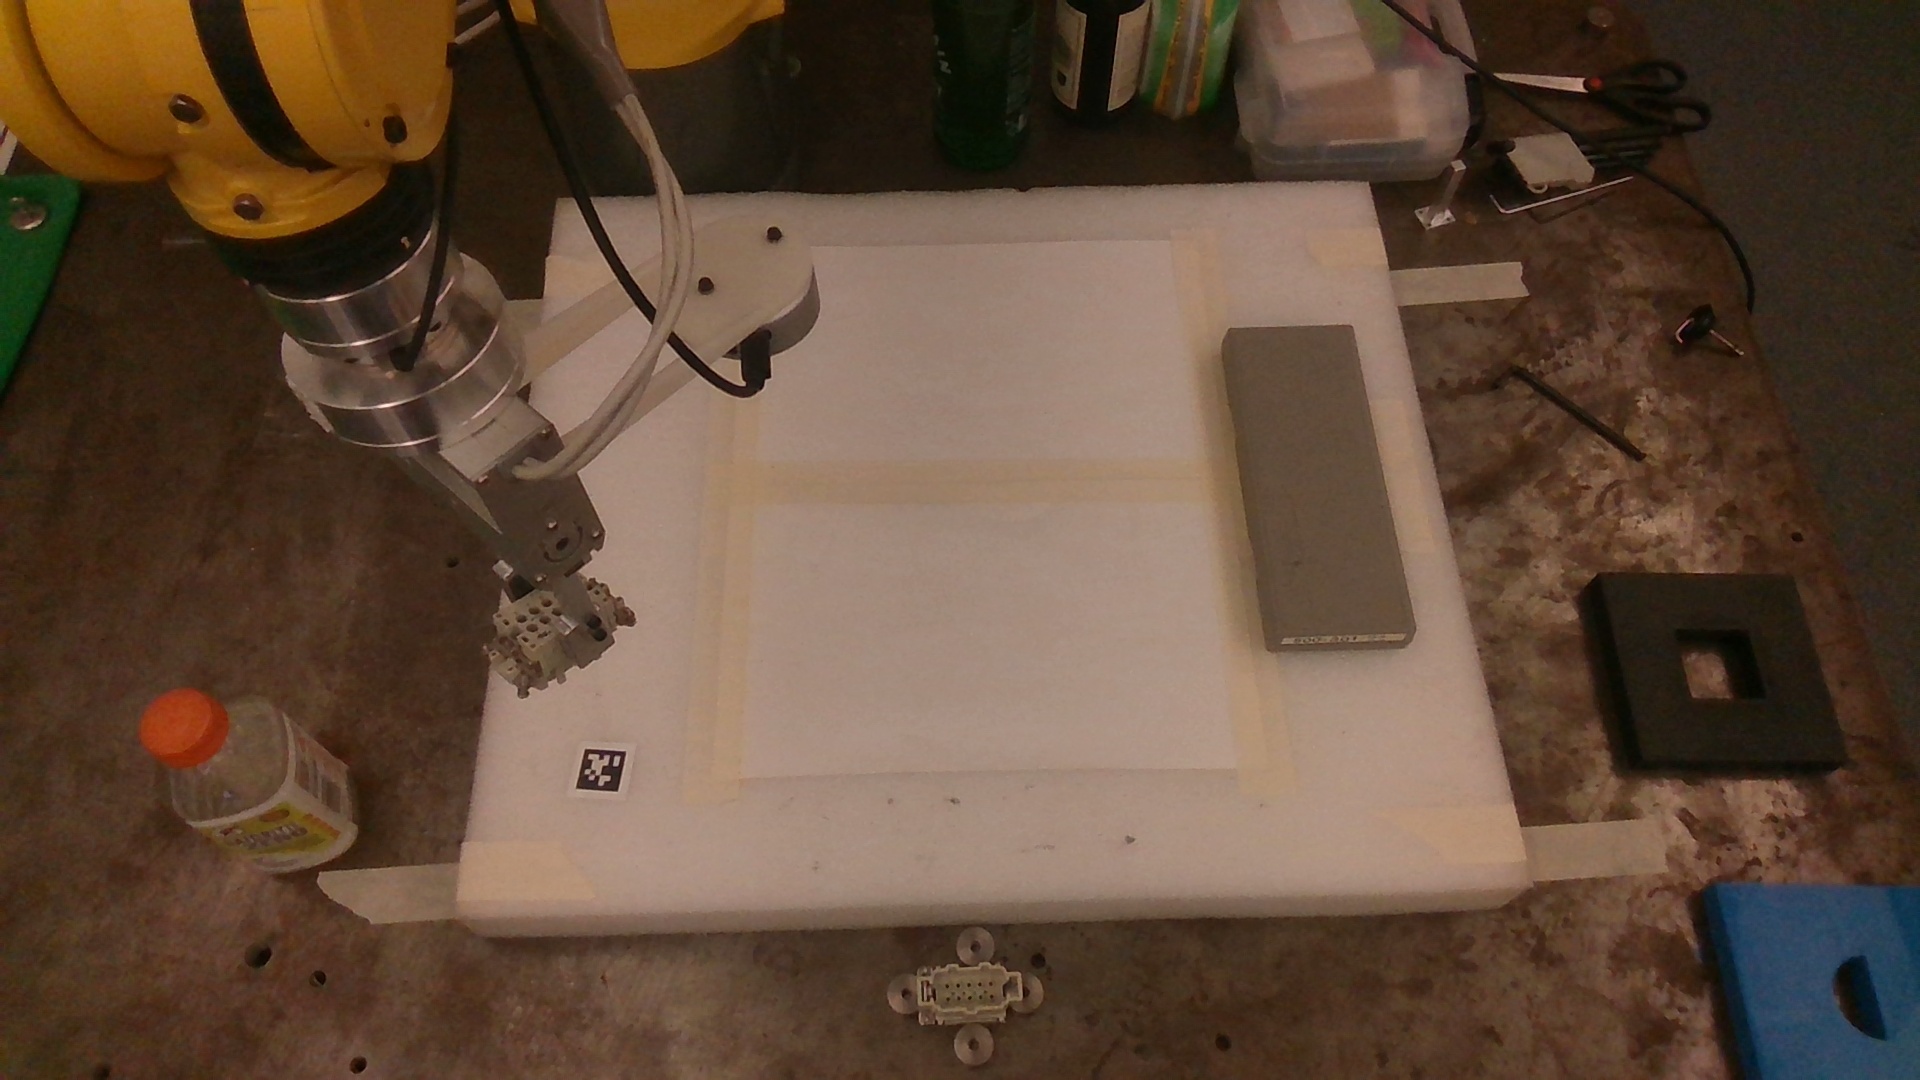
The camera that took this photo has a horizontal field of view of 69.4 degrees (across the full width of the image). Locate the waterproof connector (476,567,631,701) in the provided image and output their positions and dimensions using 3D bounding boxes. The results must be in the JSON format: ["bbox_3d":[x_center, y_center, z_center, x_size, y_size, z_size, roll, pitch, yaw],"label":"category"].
[{"bbox_3d":[-0.192,0.044,0.653,0.037,0.038,0.069,31,47,24],"label":"waterproof connector"}]
